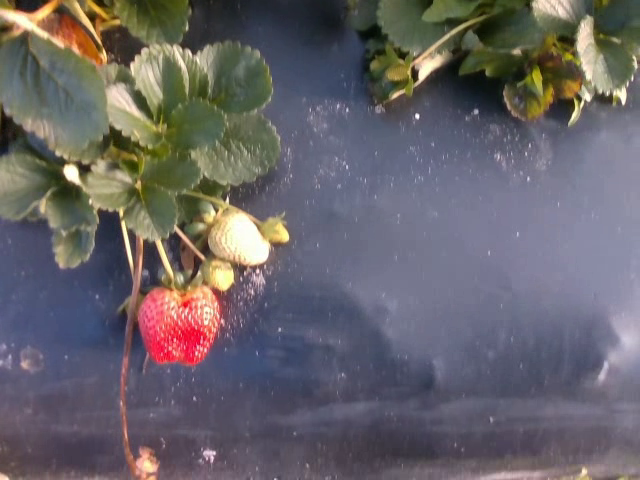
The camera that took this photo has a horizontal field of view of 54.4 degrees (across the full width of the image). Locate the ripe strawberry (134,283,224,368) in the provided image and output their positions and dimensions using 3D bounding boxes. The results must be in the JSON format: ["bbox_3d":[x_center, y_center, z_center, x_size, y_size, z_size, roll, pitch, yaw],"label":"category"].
[{"bbox_3d":[-0.085,0.054,0.361,0.048,0.050,0.034,3,5,-1],"label":"ripe strawberry"}]
